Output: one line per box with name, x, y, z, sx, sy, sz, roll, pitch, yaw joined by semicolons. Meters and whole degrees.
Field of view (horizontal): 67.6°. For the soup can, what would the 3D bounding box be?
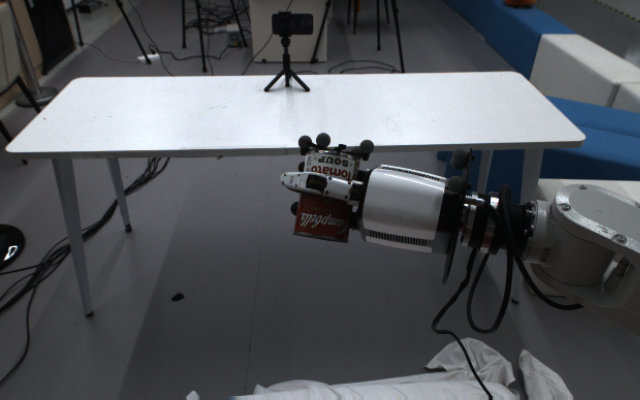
soup can;0.010;-0.003;0.584;0.067;0.101;0.067;9;-6;1
